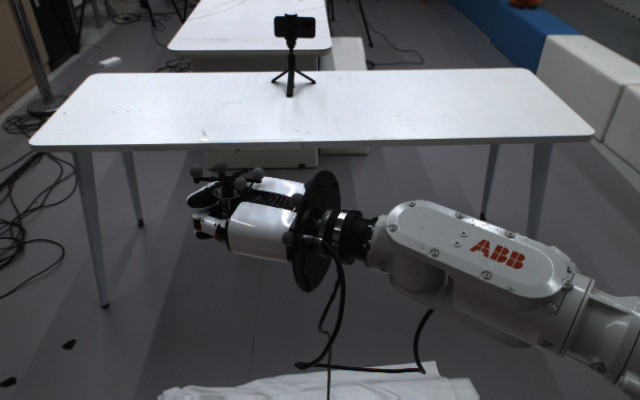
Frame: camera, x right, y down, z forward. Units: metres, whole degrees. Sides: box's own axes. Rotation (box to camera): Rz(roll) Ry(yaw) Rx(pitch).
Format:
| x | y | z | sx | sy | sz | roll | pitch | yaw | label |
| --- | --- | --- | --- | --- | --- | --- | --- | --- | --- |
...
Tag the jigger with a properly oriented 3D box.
| x | y | z | sx | sy | sz | roll | pitch | yaw | label |
| --- | --- | --- | --- | --- | --- | --- | --- | --- | --- |
| -0.121 | 0.018 | 0.668 | 0.043 | 0.071 | 0.043 | 3 | 25 | -1 | jigger |
